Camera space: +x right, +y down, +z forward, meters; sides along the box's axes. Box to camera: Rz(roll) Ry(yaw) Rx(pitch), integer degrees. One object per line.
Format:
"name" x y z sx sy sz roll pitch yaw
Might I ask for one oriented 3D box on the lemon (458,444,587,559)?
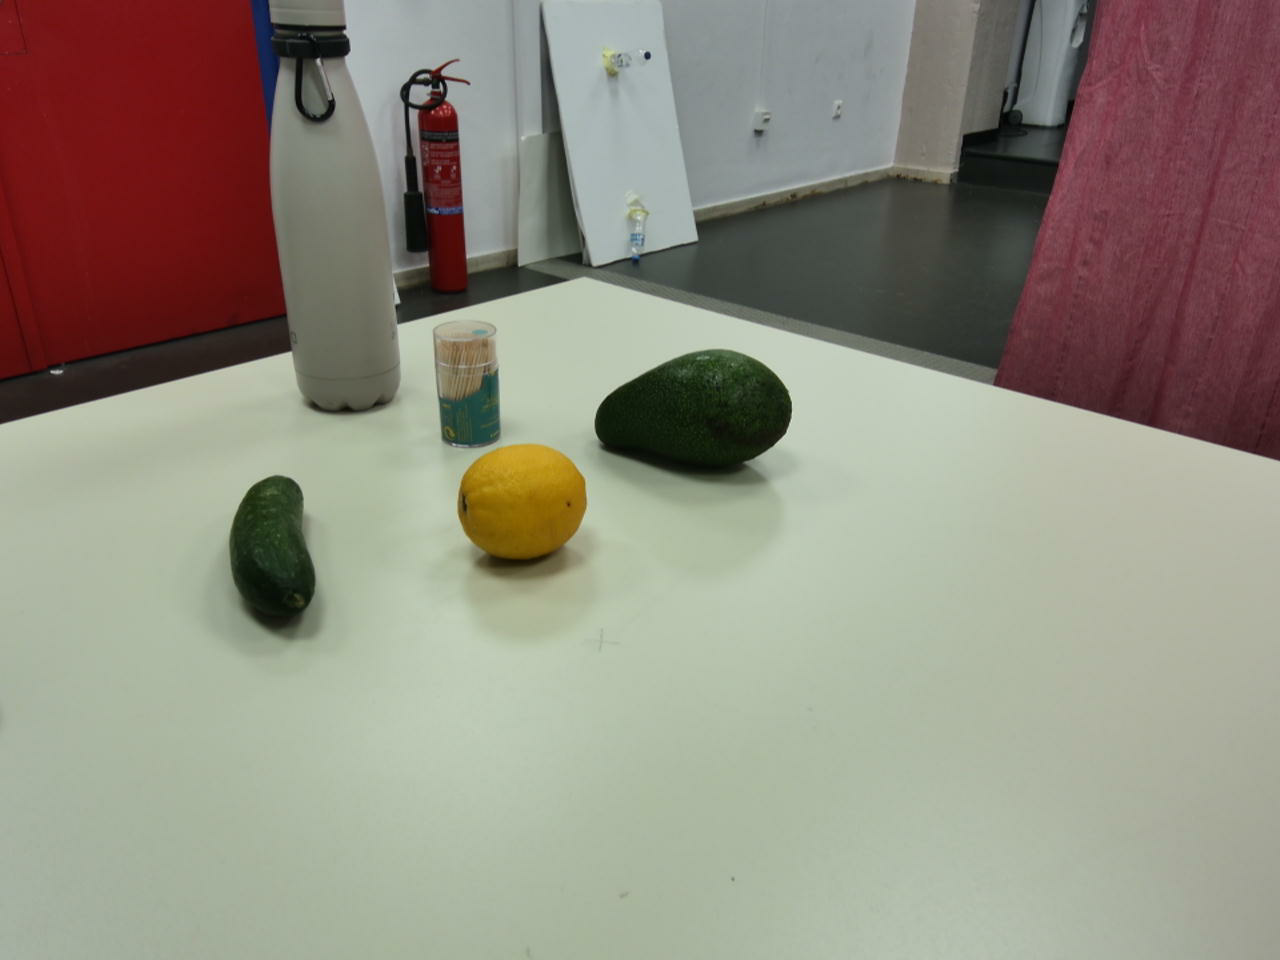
"lemon" -0.061 0.012 0.520 0.067 0.059 0.060 -2 25 -6
